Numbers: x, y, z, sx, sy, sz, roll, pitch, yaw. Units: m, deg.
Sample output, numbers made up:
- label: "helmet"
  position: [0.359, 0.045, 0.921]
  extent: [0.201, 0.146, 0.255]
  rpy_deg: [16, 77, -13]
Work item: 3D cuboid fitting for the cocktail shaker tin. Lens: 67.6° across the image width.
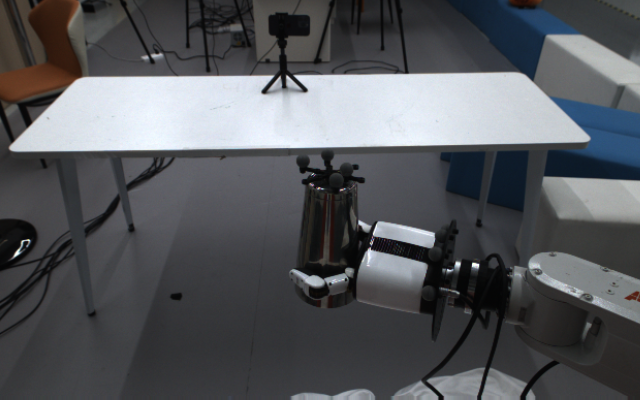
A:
- label: "cocktail shaker tin"
  position: [0.013, 0.050, 0.653]
  extent: [0.093, 0.170, 0.093]
  rpy_deg: [1, 28, -1]
